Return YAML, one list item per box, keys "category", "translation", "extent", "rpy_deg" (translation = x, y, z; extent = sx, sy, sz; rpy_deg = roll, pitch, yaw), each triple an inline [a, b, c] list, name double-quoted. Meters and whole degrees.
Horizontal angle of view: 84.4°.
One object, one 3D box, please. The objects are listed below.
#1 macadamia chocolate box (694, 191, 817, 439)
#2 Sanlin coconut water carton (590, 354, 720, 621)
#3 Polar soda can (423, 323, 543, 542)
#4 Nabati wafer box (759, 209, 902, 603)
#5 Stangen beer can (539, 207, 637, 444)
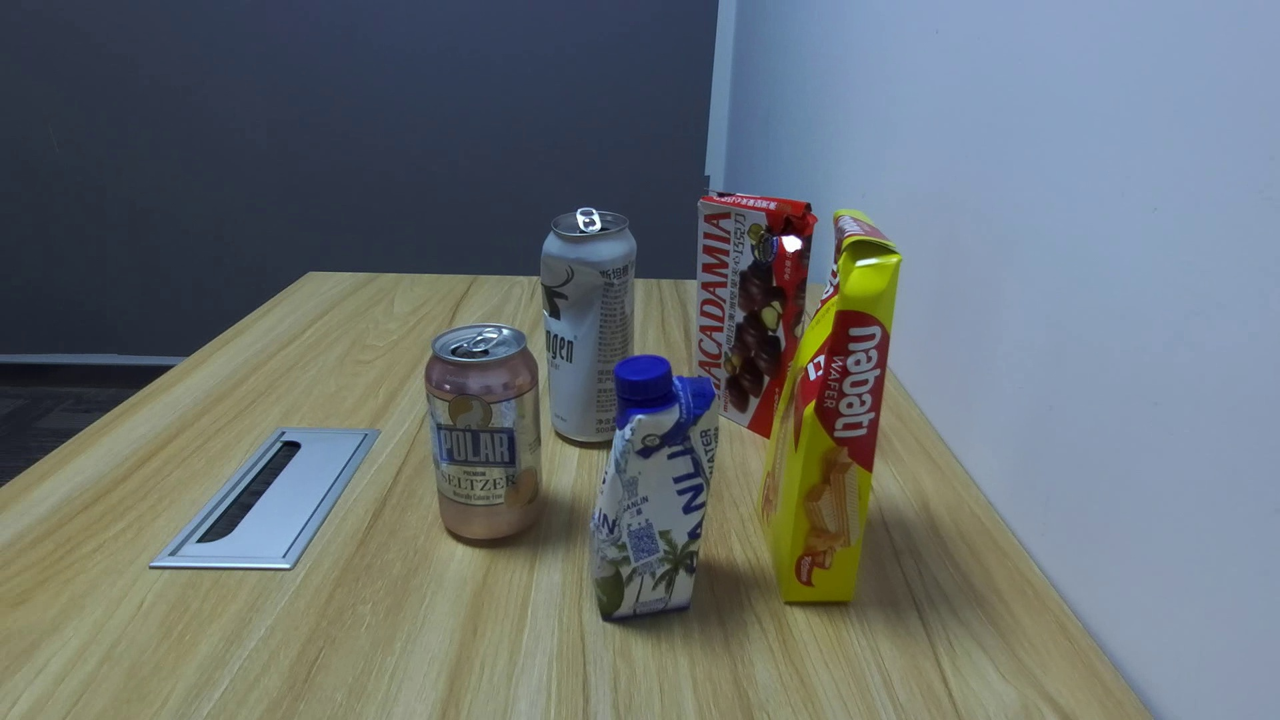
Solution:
- category: "macadamia chocolate box"
  translation: [0.085, -0.034, 0.536]
  extent: [0.027, 0.187, 0.102]
  rpy_deg: [-22, 32, -34]
- category: "Sanlin coconut water carton"
  translation: [0.011, 0.068, 0.371]
  extent: [0.069, 0.144, 0.056]
  rpy_deg: [3, 31, -15]
- category: "Polar soda can"
  translation: [-0.095, 0.045, 0.438]
  extent: [0.067, 0.125, 0.067]
  rpy_deg: [1, 24, 0]
- category: "Nabati wafer box"
  translation: [0.102, 0.026, 0.389]
  extent: [0.042, 0.205, 0.113]
  rpy_deg: [3, 24, 0]
- category: "Stangen beer can"
  translation: [-0.036, -0.021, 0.526]
  extent: [0.070, 0.173, 0.070]
  rpy_deg: [0, 21, -3]
